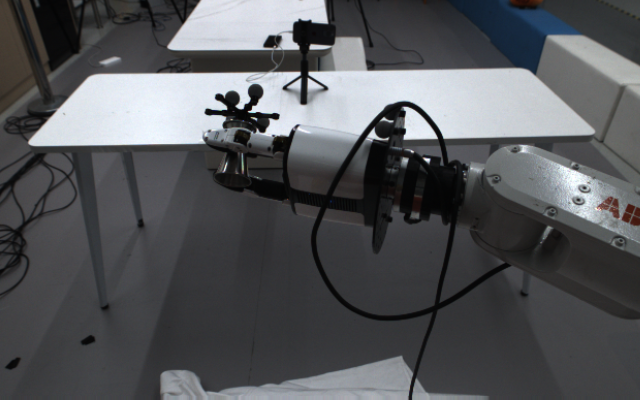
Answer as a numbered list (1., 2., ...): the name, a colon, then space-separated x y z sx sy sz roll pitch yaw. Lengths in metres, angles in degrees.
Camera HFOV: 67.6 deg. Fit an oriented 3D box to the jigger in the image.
1. jigger: -0.098 -0.054 0.562 0.043 0.043 0.071 4 71 3
